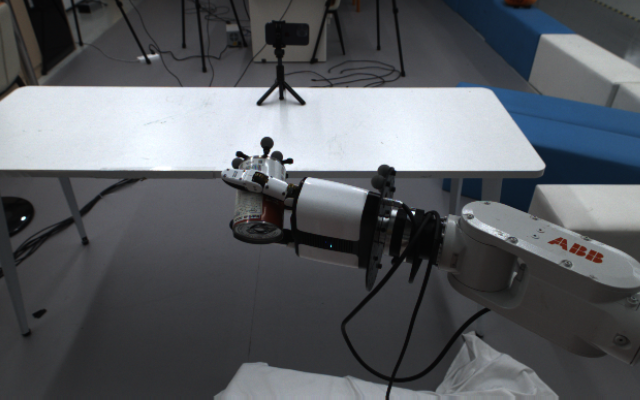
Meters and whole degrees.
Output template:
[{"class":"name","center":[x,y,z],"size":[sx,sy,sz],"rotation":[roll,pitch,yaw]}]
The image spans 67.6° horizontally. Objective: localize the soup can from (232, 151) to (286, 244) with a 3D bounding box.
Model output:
[{"class":"soup can","center":[-0.080,0.000,0.650],"size":[0.067,0.067,0.101],"rotation":[1,61,-2]}]
